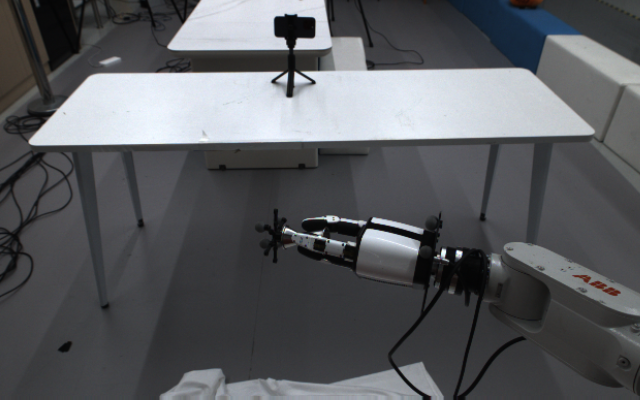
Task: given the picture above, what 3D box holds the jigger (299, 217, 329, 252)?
[{"bbox_3d":[-0.015,0.056,0.762,0.071,0.043,0.043,3,34,17],"label":"jigger"}]
